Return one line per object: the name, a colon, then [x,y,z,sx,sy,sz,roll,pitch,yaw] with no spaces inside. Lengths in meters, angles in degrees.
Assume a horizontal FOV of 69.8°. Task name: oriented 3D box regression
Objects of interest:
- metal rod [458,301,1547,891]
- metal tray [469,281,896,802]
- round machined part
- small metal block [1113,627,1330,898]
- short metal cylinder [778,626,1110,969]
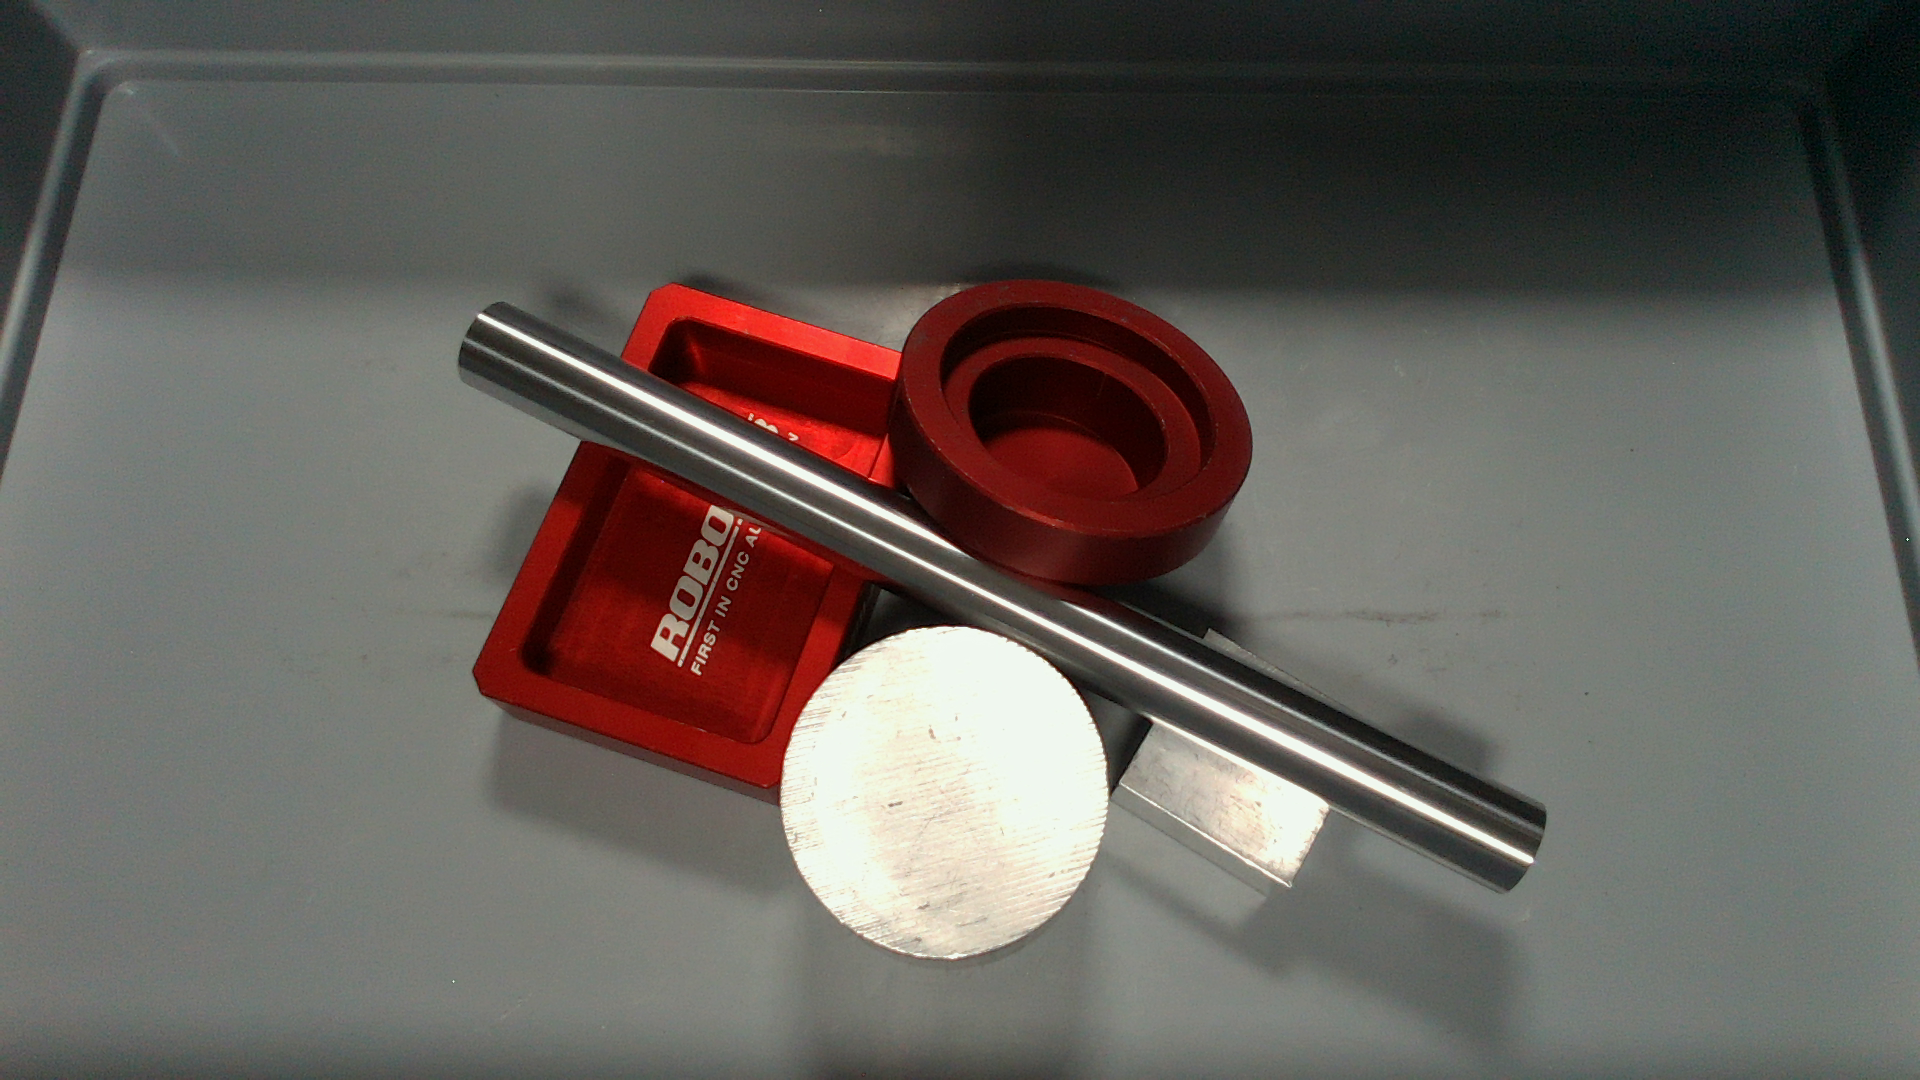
metal rod: [0.005,0.011,0.359,0.300,0.025,0.025,26,72,6]
metal tray: [-0.068,-0.001,0.390,0.090,0.030,0.130,17,71,6]
round machined part: [0.028,-0.025,0.380,0.098,0.042,0.098,9,47,-9]
small metal block: [0.076,0.060,0.371,0.050,0.025,0.050,30,73,10]
short metal cylinder: [-0.004,0.068,0.355,0.080,0.050,0.080,0,70,0]
